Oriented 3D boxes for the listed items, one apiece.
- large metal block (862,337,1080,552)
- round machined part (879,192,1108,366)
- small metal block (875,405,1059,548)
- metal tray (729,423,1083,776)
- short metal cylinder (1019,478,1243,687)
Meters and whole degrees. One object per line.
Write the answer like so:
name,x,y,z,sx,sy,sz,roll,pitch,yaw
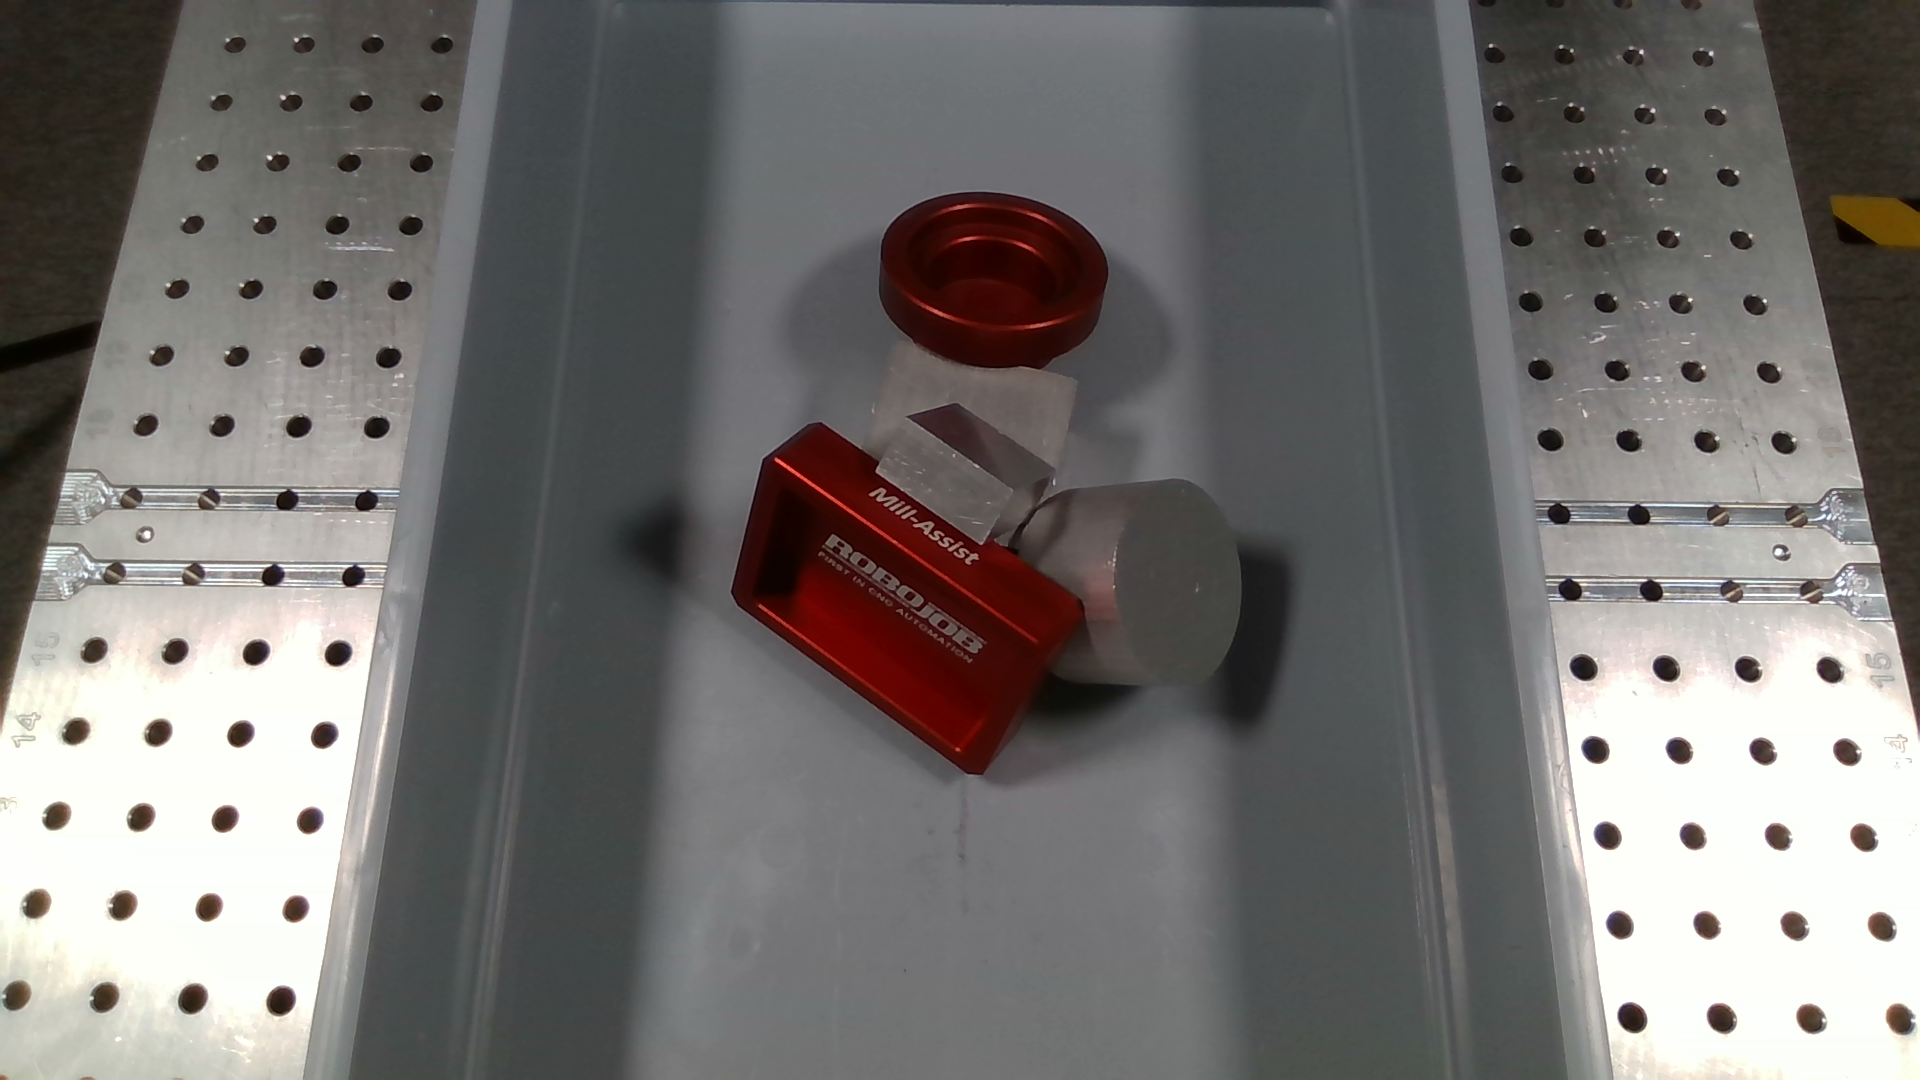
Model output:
large metal block,0.001,-0.031,0.585,0.080,0.050,0.080,14,71,5
round machined part,0.013,-0.107,0.604,0.098,0.042,0.098,3,47,-4
small metal block,0.004,-0.026,0.528,0.050,0.050,0.025,35,112,12
metal tray,-0.025,0.025,0.542,0.130,0.090,0.030,34,46,11
short metal cylinder,0.068,0.017,0.545,0.050,0.080,0.080,-4,62,46
